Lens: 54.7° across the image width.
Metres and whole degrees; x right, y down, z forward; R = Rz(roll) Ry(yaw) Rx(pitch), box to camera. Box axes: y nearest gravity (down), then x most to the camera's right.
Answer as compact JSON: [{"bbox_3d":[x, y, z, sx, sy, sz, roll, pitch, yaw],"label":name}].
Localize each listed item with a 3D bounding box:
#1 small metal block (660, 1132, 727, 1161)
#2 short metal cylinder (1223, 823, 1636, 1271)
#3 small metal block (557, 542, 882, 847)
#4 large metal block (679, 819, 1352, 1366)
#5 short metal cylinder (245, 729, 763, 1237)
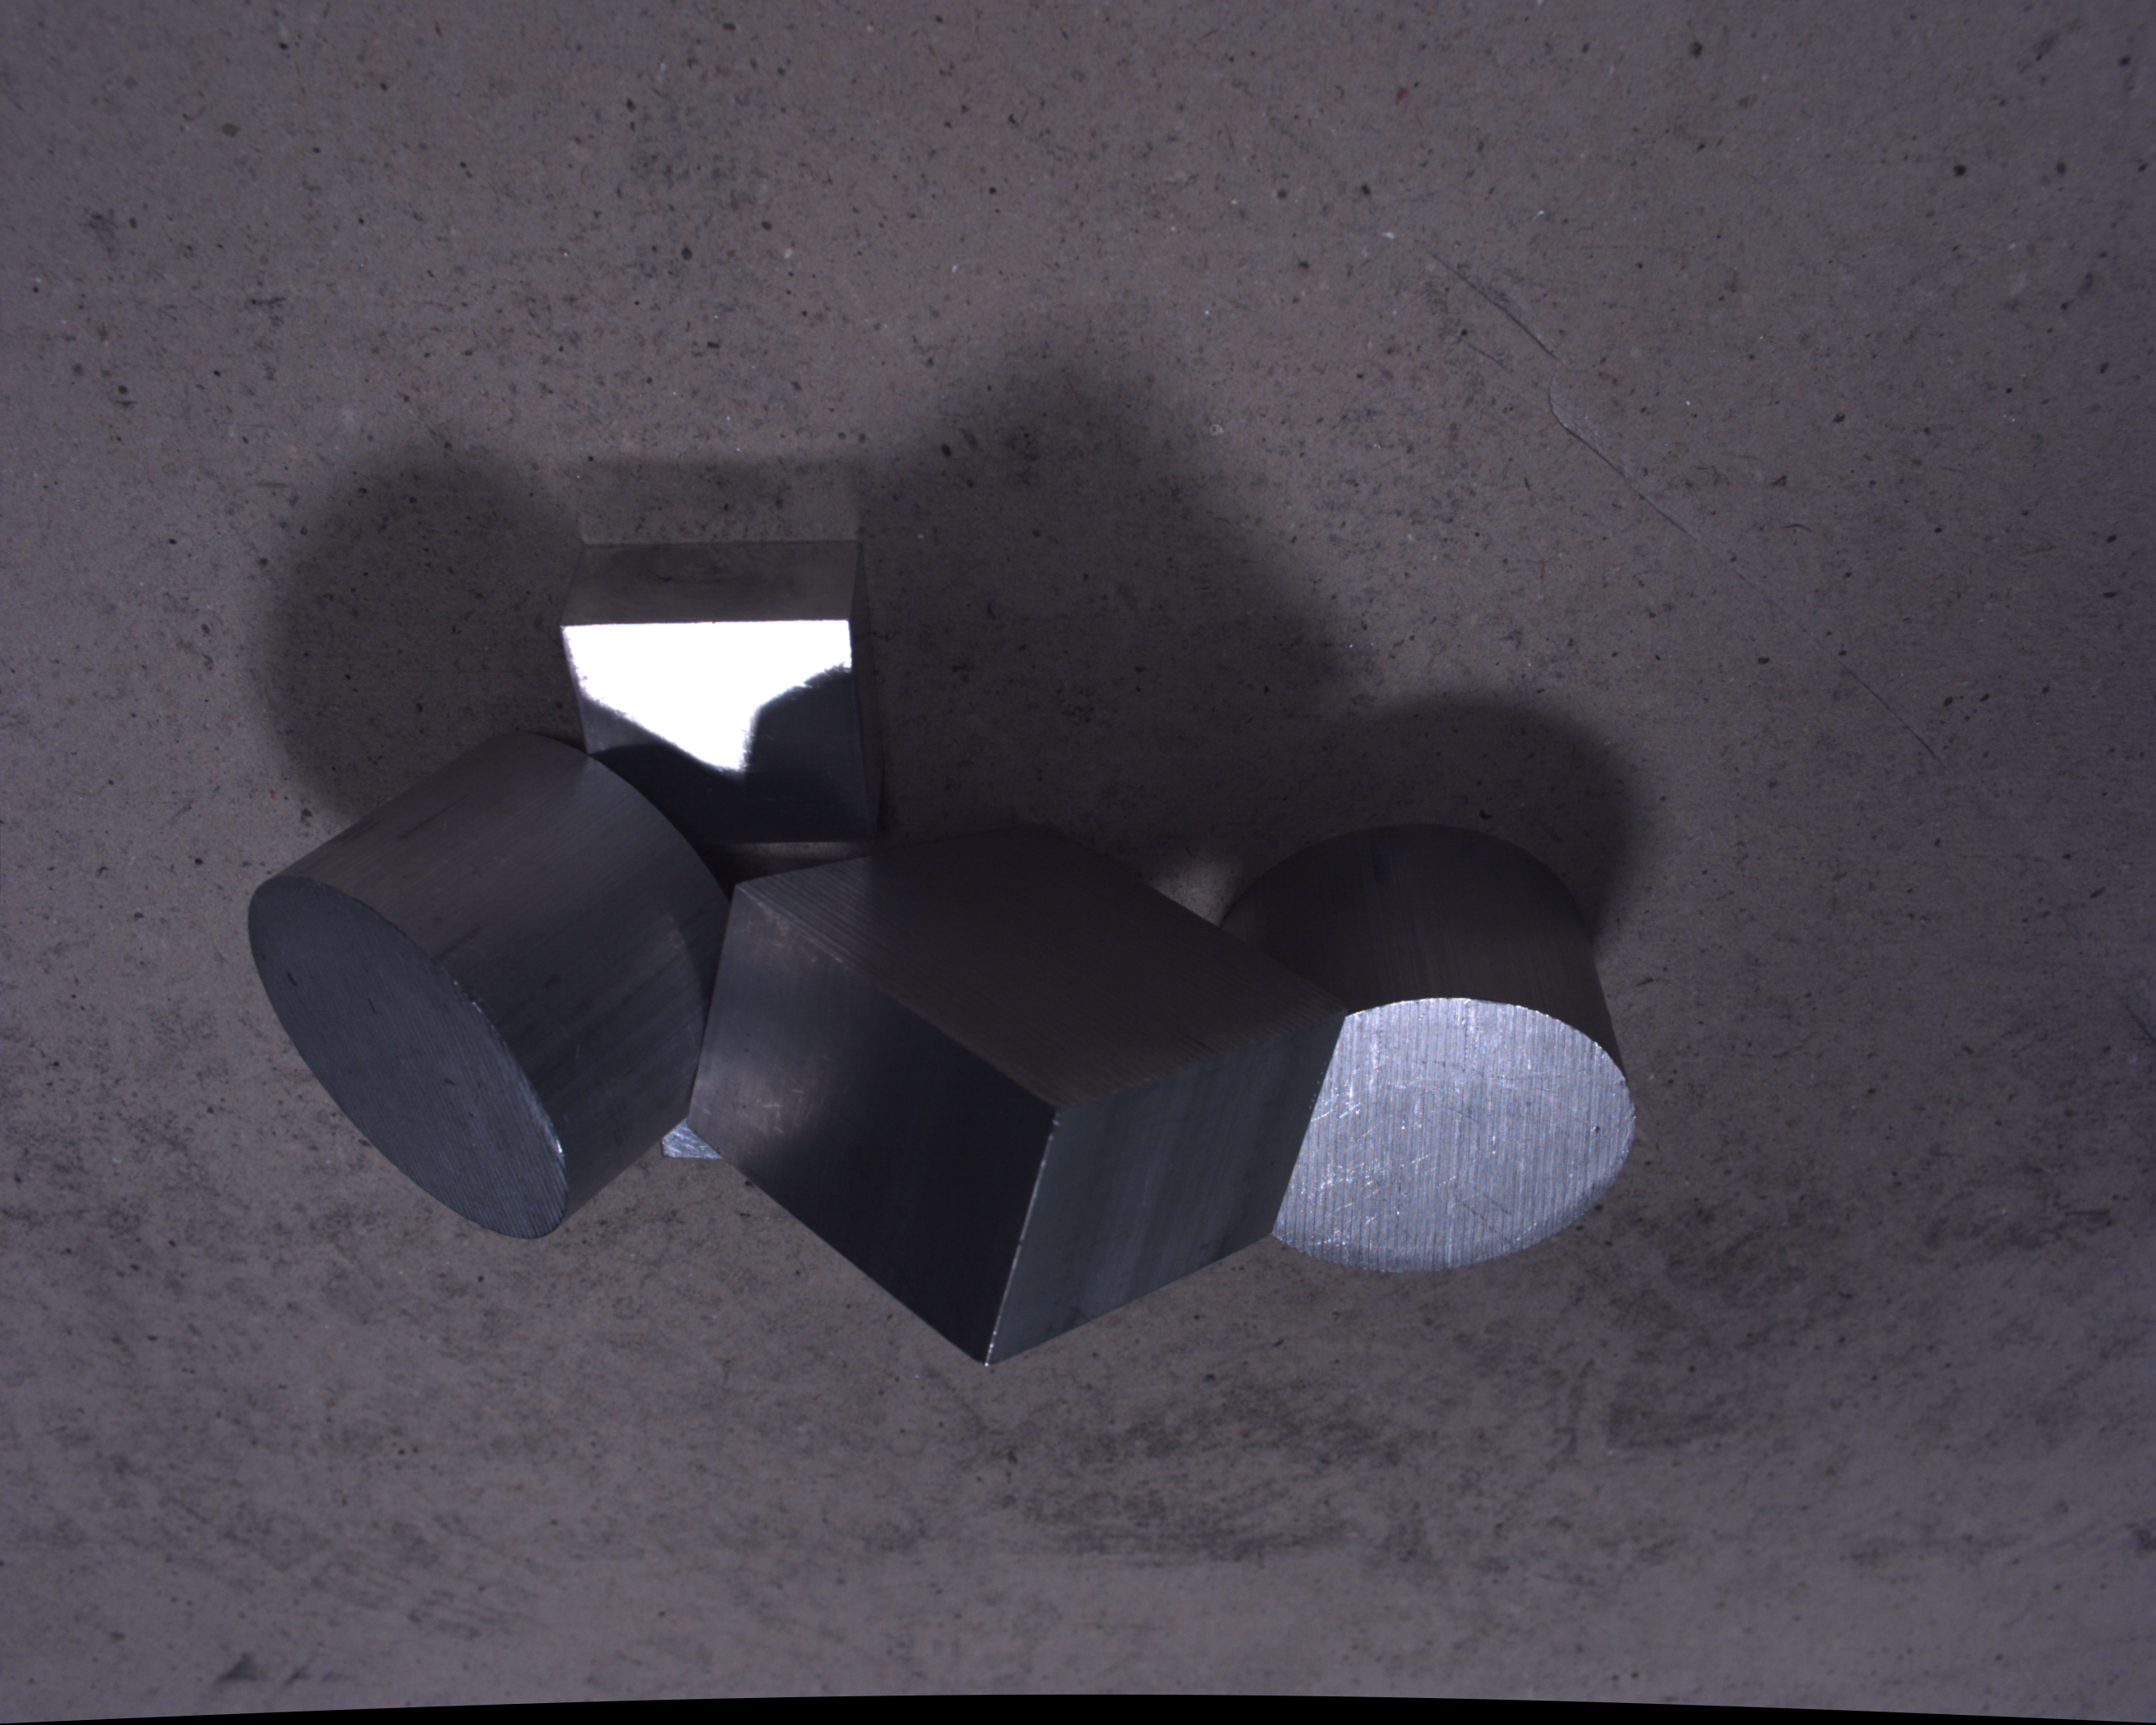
[{"bbox_3d":[-0.062,0.037,0.439,0.050,0.025,0.050,2,130,-3],"label":"small metal block"},{"bbox_3d":[0.068,0.038,0.426,0.081,0.050,0.079,0,130,0],"label":"short metal cylinder"},{"bbox_3d":[-0.063,-0.030,0.382,0.050,0.025,0.050,-1,130,0],"label":"small metal block"},{"bbox_3d":[-0.012,0.036,0.379,0.081,0.080,0.050,-13,125,-48],"label":"large metal block"},{"bbox_3d":[-0.105,0.022,0.386,0.080,0.050,0.079,25,137,26],"label":"short metal cylinder"}]
